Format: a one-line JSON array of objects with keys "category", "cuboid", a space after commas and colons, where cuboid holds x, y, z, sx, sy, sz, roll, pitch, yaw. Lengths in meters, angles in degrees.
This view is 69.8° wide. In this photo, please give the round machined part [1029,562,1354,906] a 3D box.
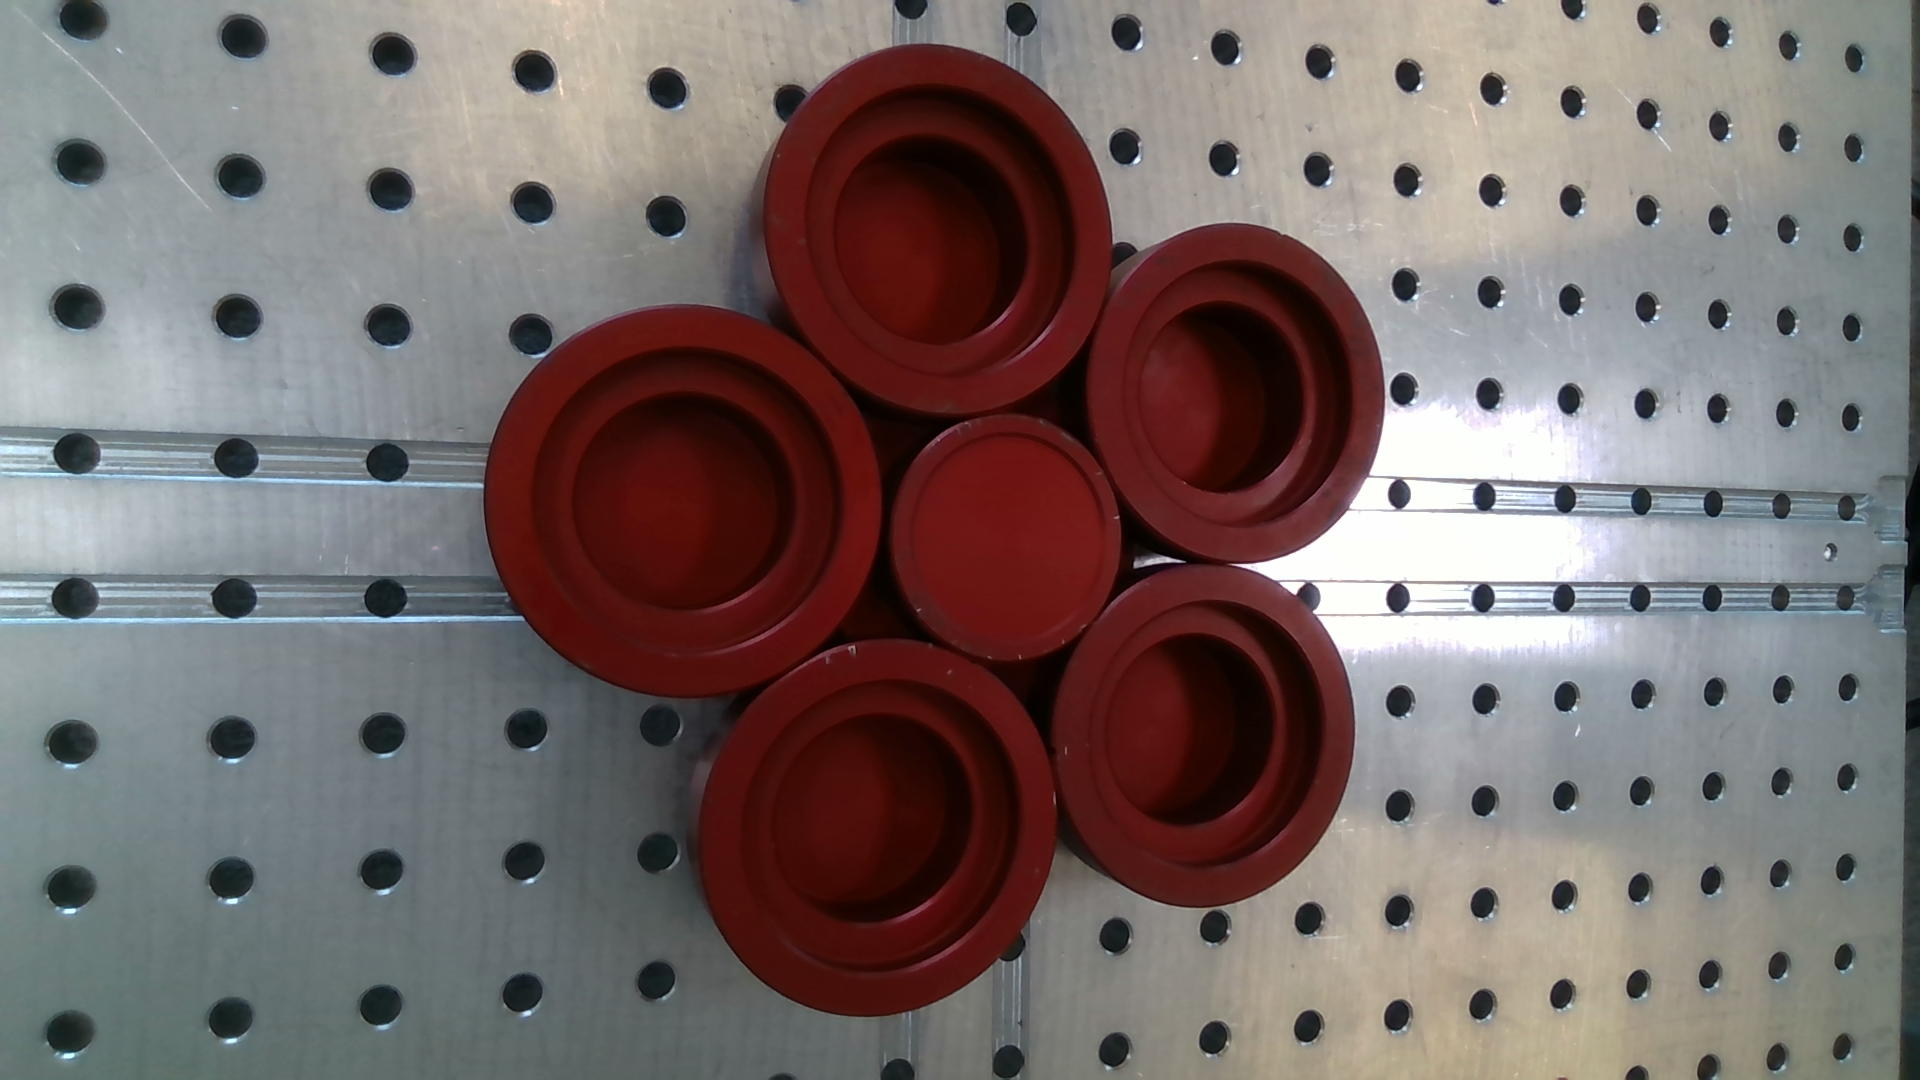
[{"category": "round machined part", "cuboid": [0.064, 0.055, 0.411, 0.098, 0.042, 0.098, 0, 90, -20]}]

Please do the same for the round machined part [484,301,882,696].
[{"category": "round machined part", "cuboid": [-0.073, -0.010, 0.360, 0.098, 0.042, 0.098, 0, 90, -20]}]

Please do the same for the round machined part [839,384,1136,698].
[{"category": "round machined part", "cuboid": [0.006, -0.002, 0.389, 0.098, 0.042, 0.098, 0, 90, -20]}]

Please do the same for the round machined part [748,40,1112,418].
[{"category": "round machined part", "cuboid": [-0.011, -0.083, 0.383, 0.098, 0.042, 0.098, 0, 90, -20]}]

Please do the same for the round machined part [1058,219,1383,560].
[{"category": "round machined part", "cuboid": [0.074, -0.043, 0.414, 0.098, 0.042, 0.098, 0, 90, -20]}]

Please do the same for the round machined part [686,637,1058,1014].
[{"category": "round machined part", "cuboid": [-0.026, 0.074, 0.378, 0.098, 0.042, 0.098, 0, 90, -20]}]
